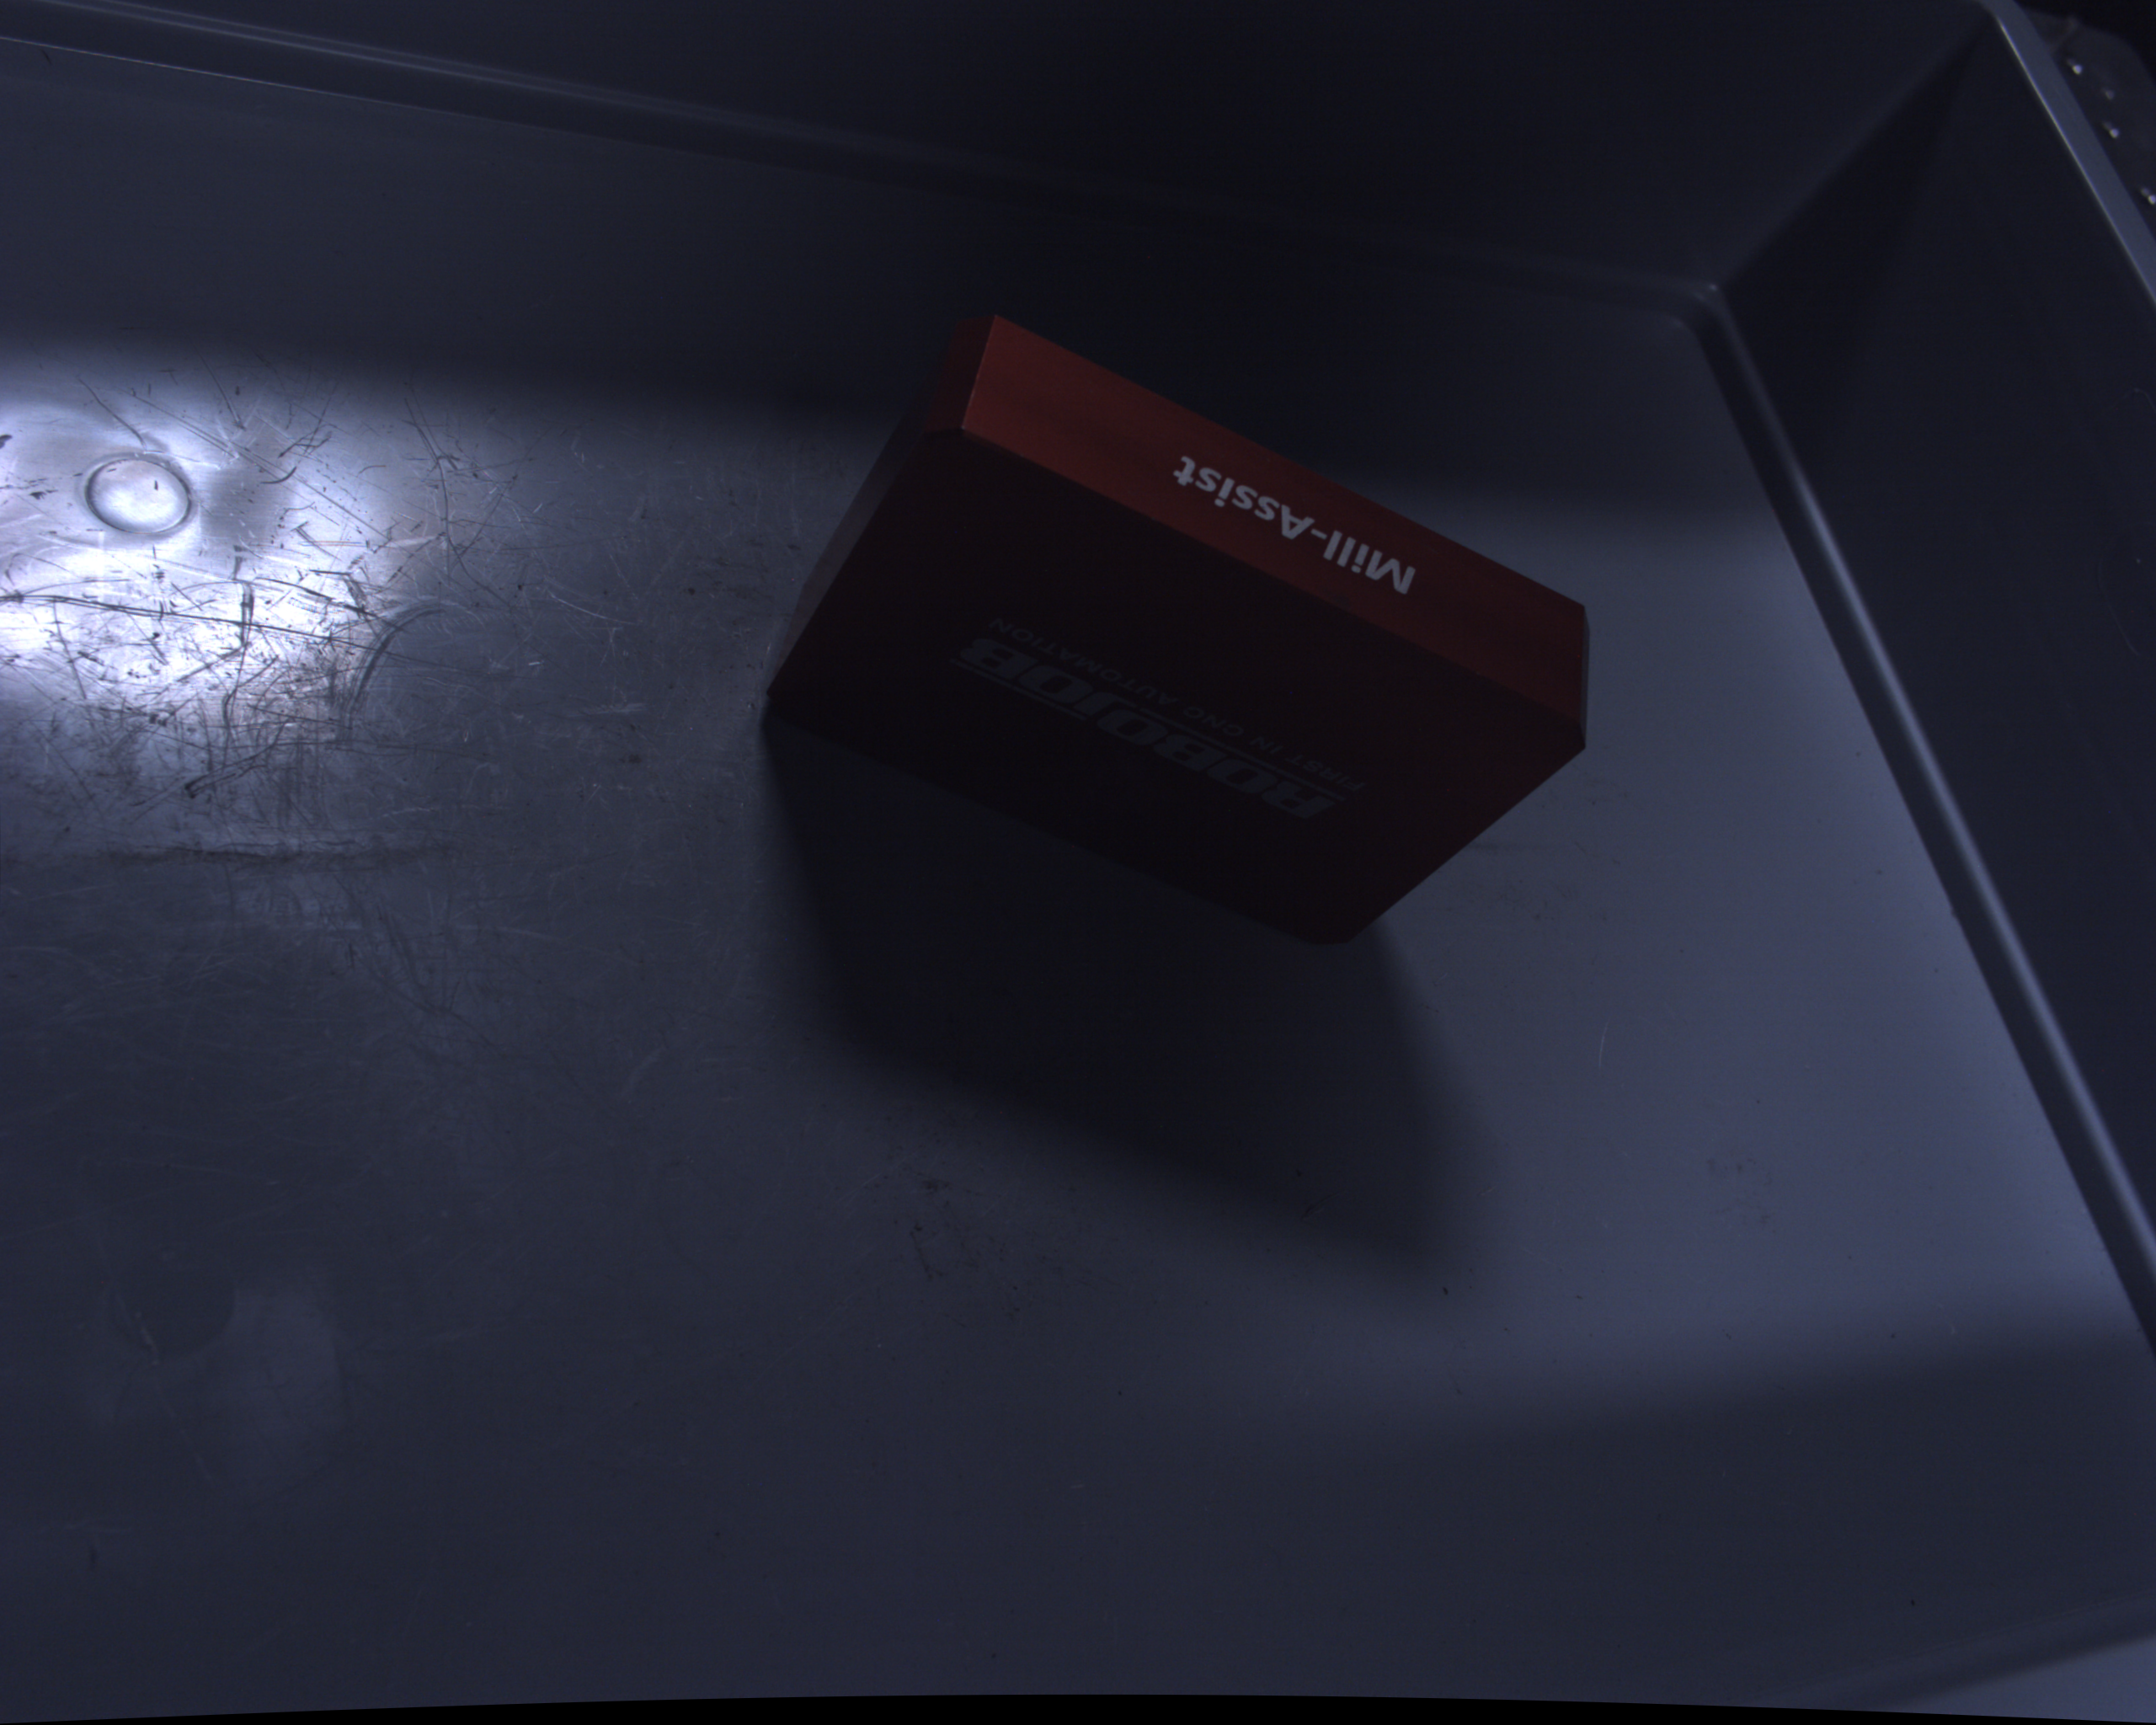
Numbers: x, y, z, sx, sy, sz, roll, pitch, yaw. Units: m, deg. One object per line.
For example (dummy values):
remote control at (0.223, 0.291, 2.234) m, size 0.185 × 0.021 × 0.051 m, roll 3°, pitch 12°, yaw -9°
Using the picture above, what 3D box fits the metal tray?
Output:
metal tray at (0.018, -0.038, 0.394) m, size 0.131 × 0.090 × 0.030 m, roll 23°, pitch 53°, yaw -16°
